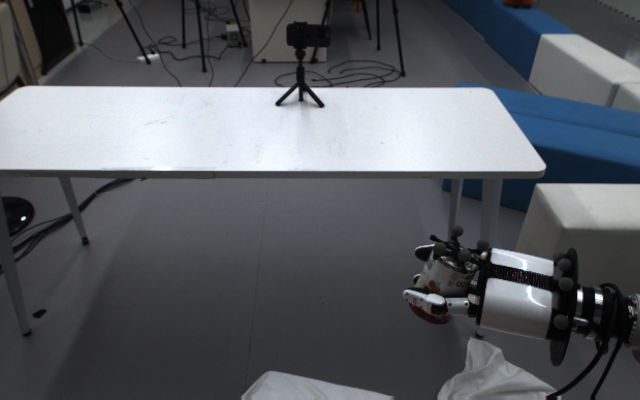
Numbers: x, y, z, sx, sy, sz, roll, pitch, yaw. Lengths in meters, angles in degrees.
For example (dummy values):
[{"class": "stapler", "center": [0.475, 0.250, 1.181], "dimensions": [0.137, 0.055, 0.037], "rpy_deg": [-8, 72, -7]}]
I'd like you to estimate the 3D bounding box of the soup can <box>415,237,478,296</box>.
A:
[{"class": "soup can", "center": [0.177, 0.117, 0.693], "dimensions": [0.067, 0.101, 0.067], "rpy_deg": [13, 30, -8]}]
